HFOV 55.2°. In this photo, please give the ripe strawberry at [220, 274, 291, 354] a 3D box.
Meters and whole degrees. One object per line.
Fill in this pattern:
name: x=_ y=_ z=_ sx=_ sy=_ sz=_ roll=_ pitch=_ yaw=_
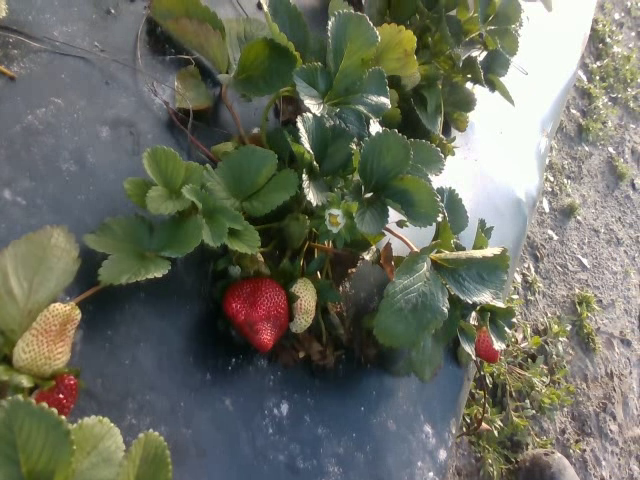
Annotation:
ripe strawberry: x=-0.048 y=0.057 z=0.444 sx=0.057 sy=0.058 sz=0.070 roll=-1 pitch=4 yaw=6
